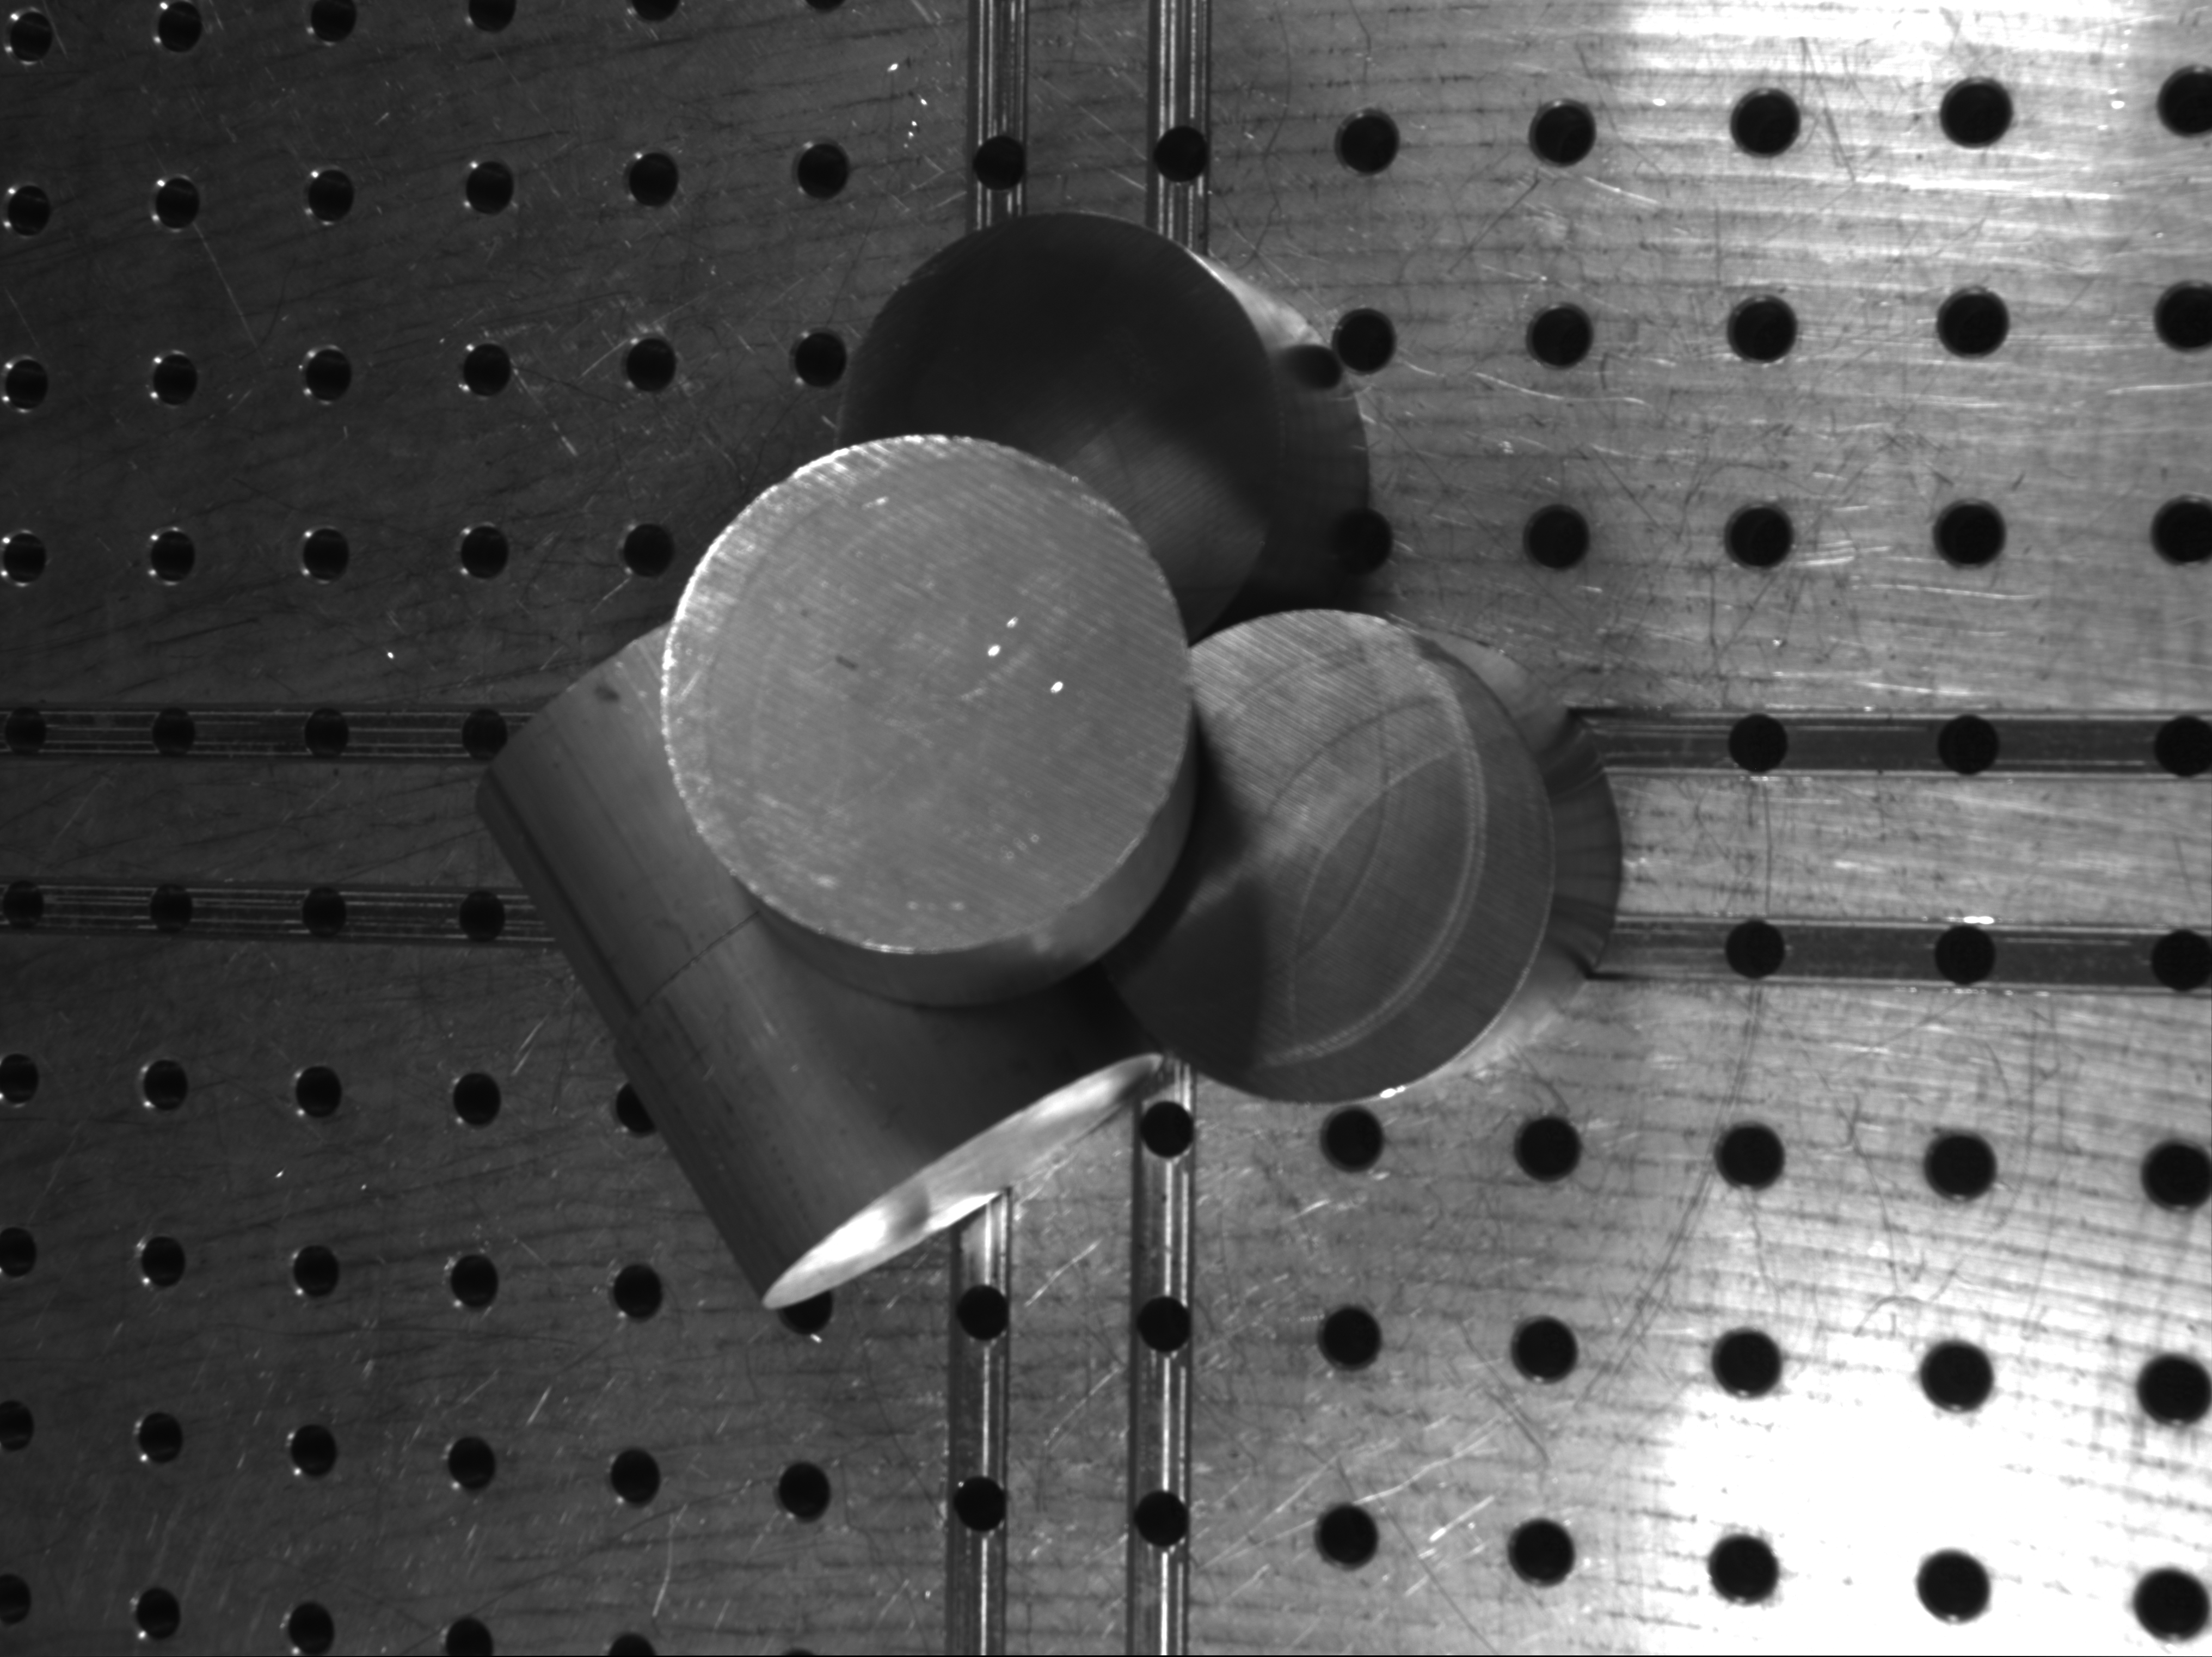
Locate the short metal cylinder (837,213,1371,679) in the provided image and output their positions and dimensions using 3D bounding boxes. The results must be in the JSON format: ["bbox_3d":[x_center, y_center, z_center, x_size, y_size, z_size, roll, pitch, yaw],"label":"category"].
[{"bbox_3d":[0.000,-0.062,0.633,0.080,0.050,0.080,0,90,20],"label":"short metal cylinder"}]

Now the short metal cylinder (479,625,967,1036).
[{"bbox_3d":[-0.062,-0.003,0.640,0.080,0.080,0.050,-36,78,16],"label":"short metal cylinder"}]

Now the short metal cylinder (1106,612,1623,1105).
[{"bbox_3d":[0.042,0.005,0.617,0.080,0.050,0.080,0,90,20],"label":"short metal cylinder"}]

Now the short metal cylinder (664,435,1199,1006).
[{"bbox_3d":[-0.026,-0.016,0.574,0.080,0.050,0.080,0,78,2],"label":"short metal cylinder"}]

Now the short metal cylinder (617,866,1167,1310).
[{"bbox_3d":[-0.037,0.040,0.630,0.080,0.080,0.050,-36,79,16],"label":"short metal cylinder"}]
